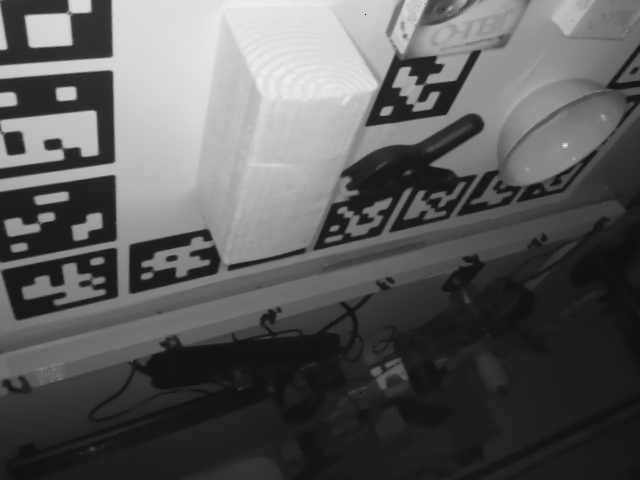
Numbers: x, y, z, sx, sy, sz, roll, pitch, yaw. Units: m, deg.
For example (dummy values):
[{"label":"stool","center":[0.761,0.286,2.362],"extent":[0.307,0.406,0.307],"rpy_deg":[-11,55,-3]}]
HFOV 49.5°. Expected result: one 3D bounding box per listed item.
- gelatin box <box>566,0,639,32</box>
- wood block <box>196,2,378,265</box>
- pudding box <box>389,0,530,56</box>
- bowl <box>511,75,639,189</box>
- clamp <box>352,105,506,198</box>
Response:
[{"label":"gelatin box","center":[0.285,-0.231,0.643],"extent":[0.091,0.030,0.072],"rpy_deg":[-7,143,-30]},{"label":"wood block","center":[-0.038,-0.080,0.568],"extent":[0.091,0.091,0.203],"rpy_deg":[-10,146,-24]},{"label":"pudding box","center":[0.119,-0.200,0.557],"extent":[0.115,0.038,0.089],"rpy_deg":[-15,144,-24]},{"label":"bowl","center":[0.275,-0.131,0.782],"extent":[0.163,0.055,0.160],"rpy_deg":[-19,147,-12]},{"label":"clamp","center":[0.116,-0.084,0.754],"extent":[0.166,0.036,0.120],"rpy_deg":[-17,149,-13]}]
